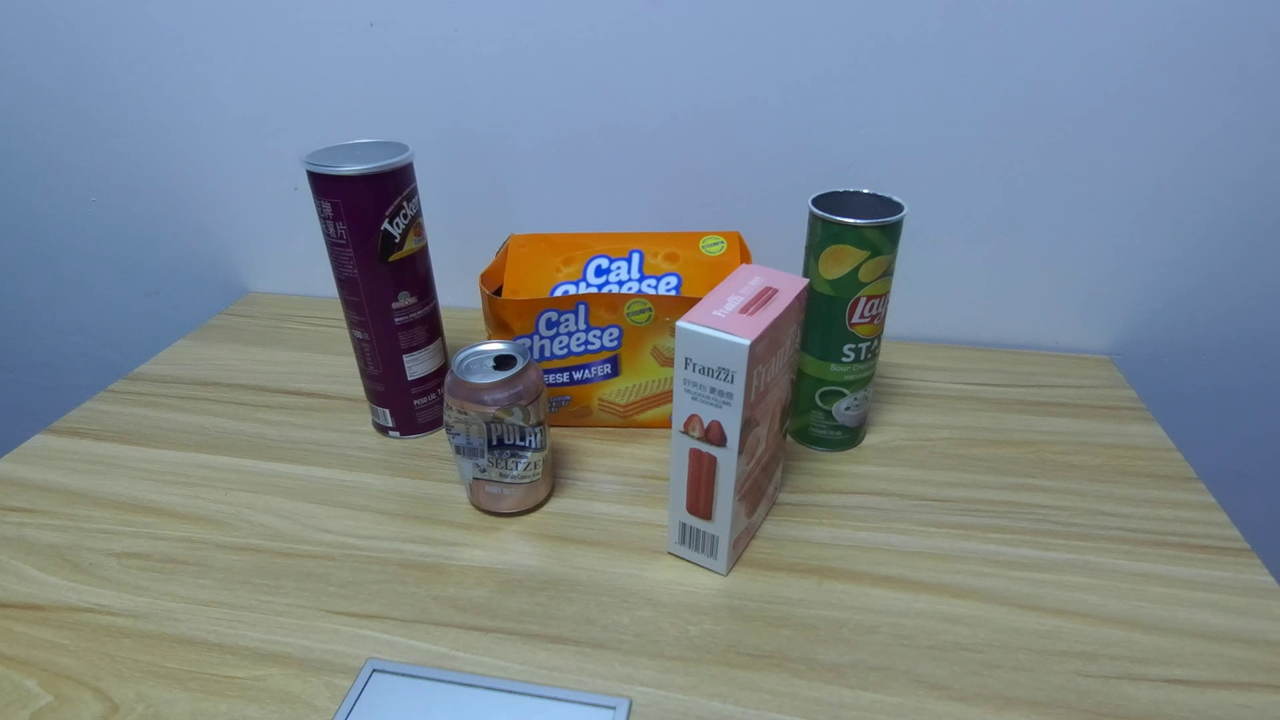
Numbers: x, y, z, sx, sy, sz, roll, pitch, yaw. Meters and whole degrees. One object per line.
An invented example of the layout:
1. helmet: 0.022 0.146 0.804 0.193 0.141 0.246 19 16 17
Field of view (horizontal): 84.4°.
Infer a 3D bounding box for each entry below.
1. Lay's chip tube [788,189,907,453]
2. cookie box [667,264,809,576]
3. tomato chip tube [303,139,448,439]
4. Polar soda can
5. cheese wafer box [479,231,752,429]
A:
1. Lay's chip tube: 0.158 -0.028 0.557 0.071 0.203 0.071 -1 32 1
2. cookie box: 0.062 0.041 0.464 0.048 0.185 0.096 17 36 24
3. tomato chip tube: -0.207 -0.052 0.581 0.078 0.234 0.078 0 31 0
4. Polar soda can: -0.100 0.052 0.518 0.074 0.122 0.067 25 41 38
5. cheese wafer box: -0.018 -0.029 0.639 0.230 0.132 0.152 1 33 1
